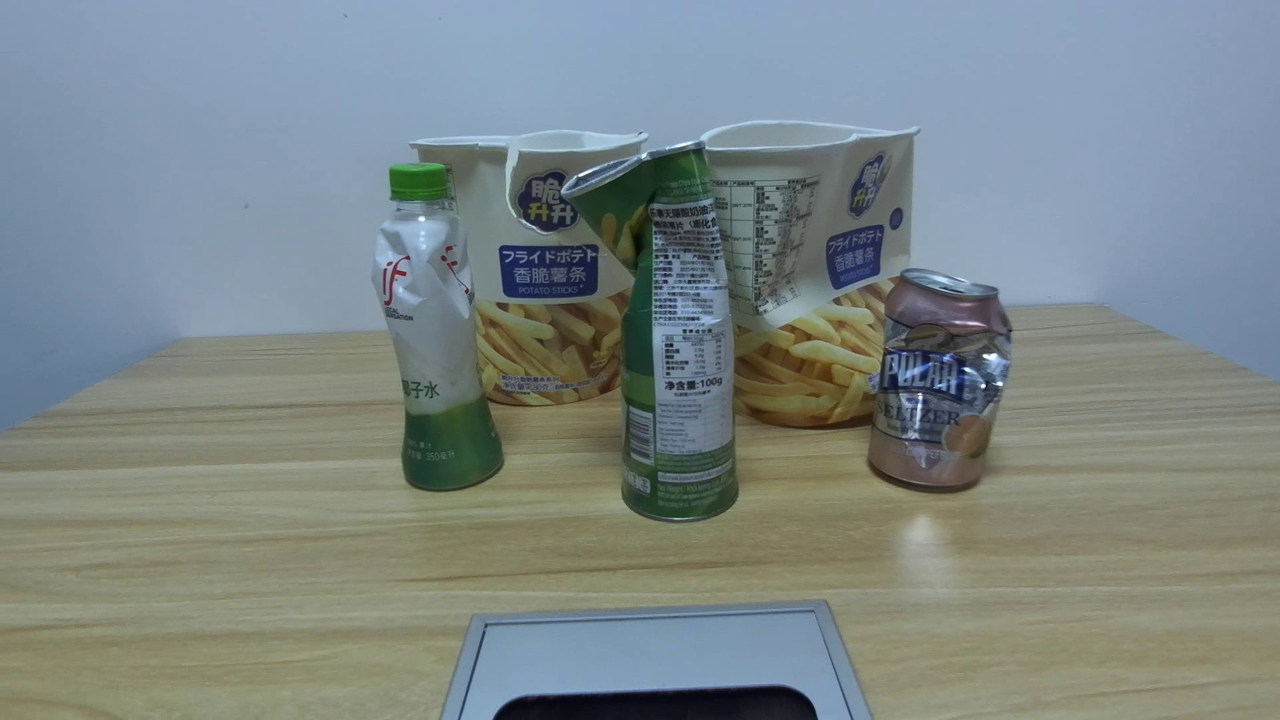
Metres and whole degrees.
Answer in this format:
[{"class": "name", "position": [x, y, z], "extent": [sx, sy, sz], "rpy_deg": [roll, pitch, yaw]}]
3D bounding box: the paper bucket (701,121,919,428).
[{"class": "paper bucket", "position": [0.128, -0.069, 0.517], "extent": [0.147, 0.199, 0.218], "rpy_deg": [3, 21, 12]}]

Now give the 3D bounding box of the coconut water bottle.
[{"class": "coconut water bottle", "position": [-0.121, -0.018, 0.423], "extent": [0.067, 0.187, 0.067], "rpy_deg": [-1, 18, 1]}]

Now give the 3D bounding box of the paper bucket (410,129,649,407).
[{"class": "paper bucket", "position": [-0.076, -0.080, 0.566], "extent": [0.201, 0.197, 0.146], "rpy_deg": [18, 29, 42]}]

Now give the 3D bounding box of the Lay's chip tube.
[{"class": "Lay's chip tube", "position": [0.010, -0.012, 0.382], "extent": [0.071, 0.199, 0.079], "rpy_deg": [-13, 21, -8]}]
